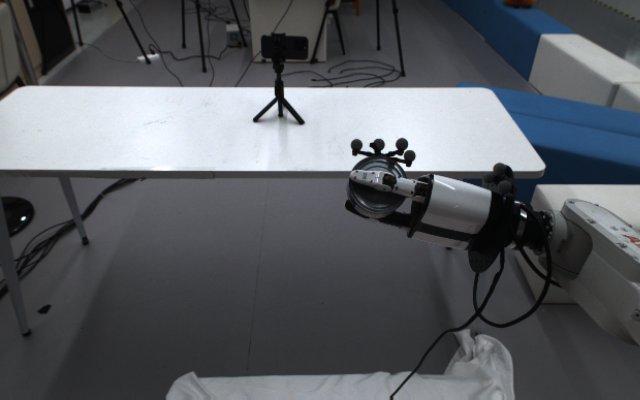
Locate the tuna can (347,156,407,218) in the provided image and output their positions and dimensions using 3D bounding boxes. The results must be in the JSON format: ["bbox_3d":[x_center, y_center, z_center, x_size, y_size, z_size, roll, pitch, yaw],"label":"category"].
[{"bbox_3d":[0.082,-0.022,0.695,0.085,0.034,0.085,1,73,-3],"label":"tuna can"}]
